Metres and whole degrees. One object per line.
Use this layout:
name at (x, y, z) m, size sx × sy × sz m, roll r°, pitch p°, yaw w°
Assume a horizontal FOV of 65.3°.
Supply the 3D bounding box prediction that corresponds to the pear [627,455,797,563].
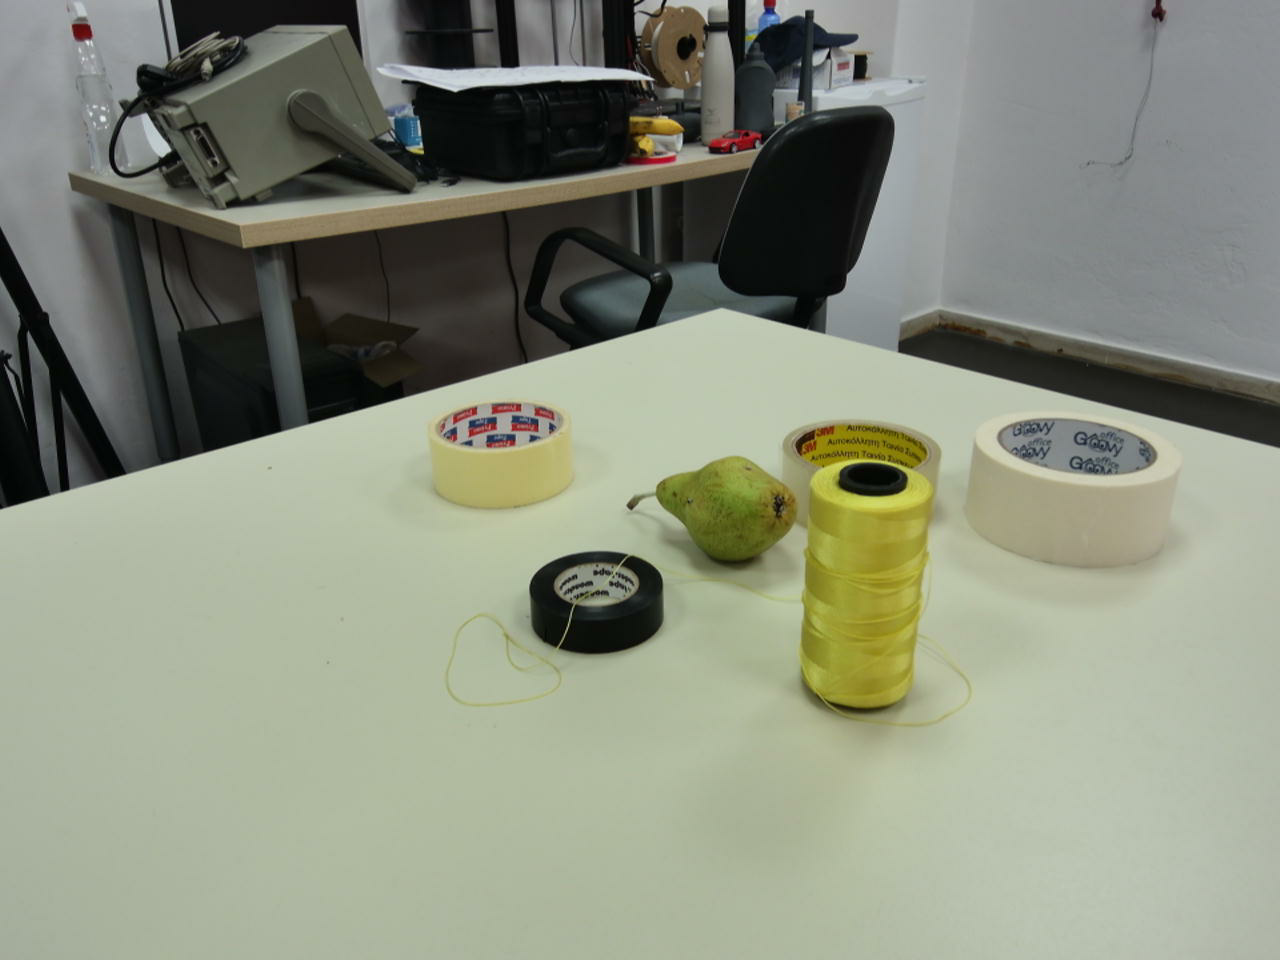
pear at (0.042, 0.009, 0.560) m, size 0.056 × 0.056 × 0.111 m, roll -10°, pitch 26°, yaw -24°
